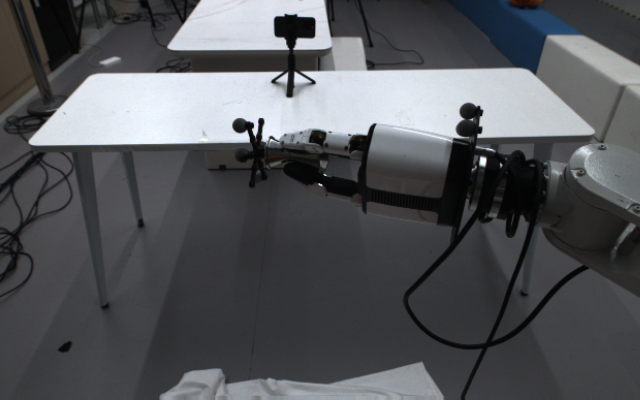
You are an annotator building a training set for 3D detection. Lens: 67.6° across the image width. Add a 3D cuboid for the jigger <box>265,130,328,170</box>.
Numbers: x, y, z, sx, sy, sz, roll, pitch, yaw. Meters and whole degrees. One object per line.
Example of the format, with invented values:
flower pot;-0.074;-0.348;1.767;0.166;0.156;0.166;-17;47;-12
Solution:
jigger;-0.020;-0.060;0.579;0.071;0.043;0.043;2;34;14
